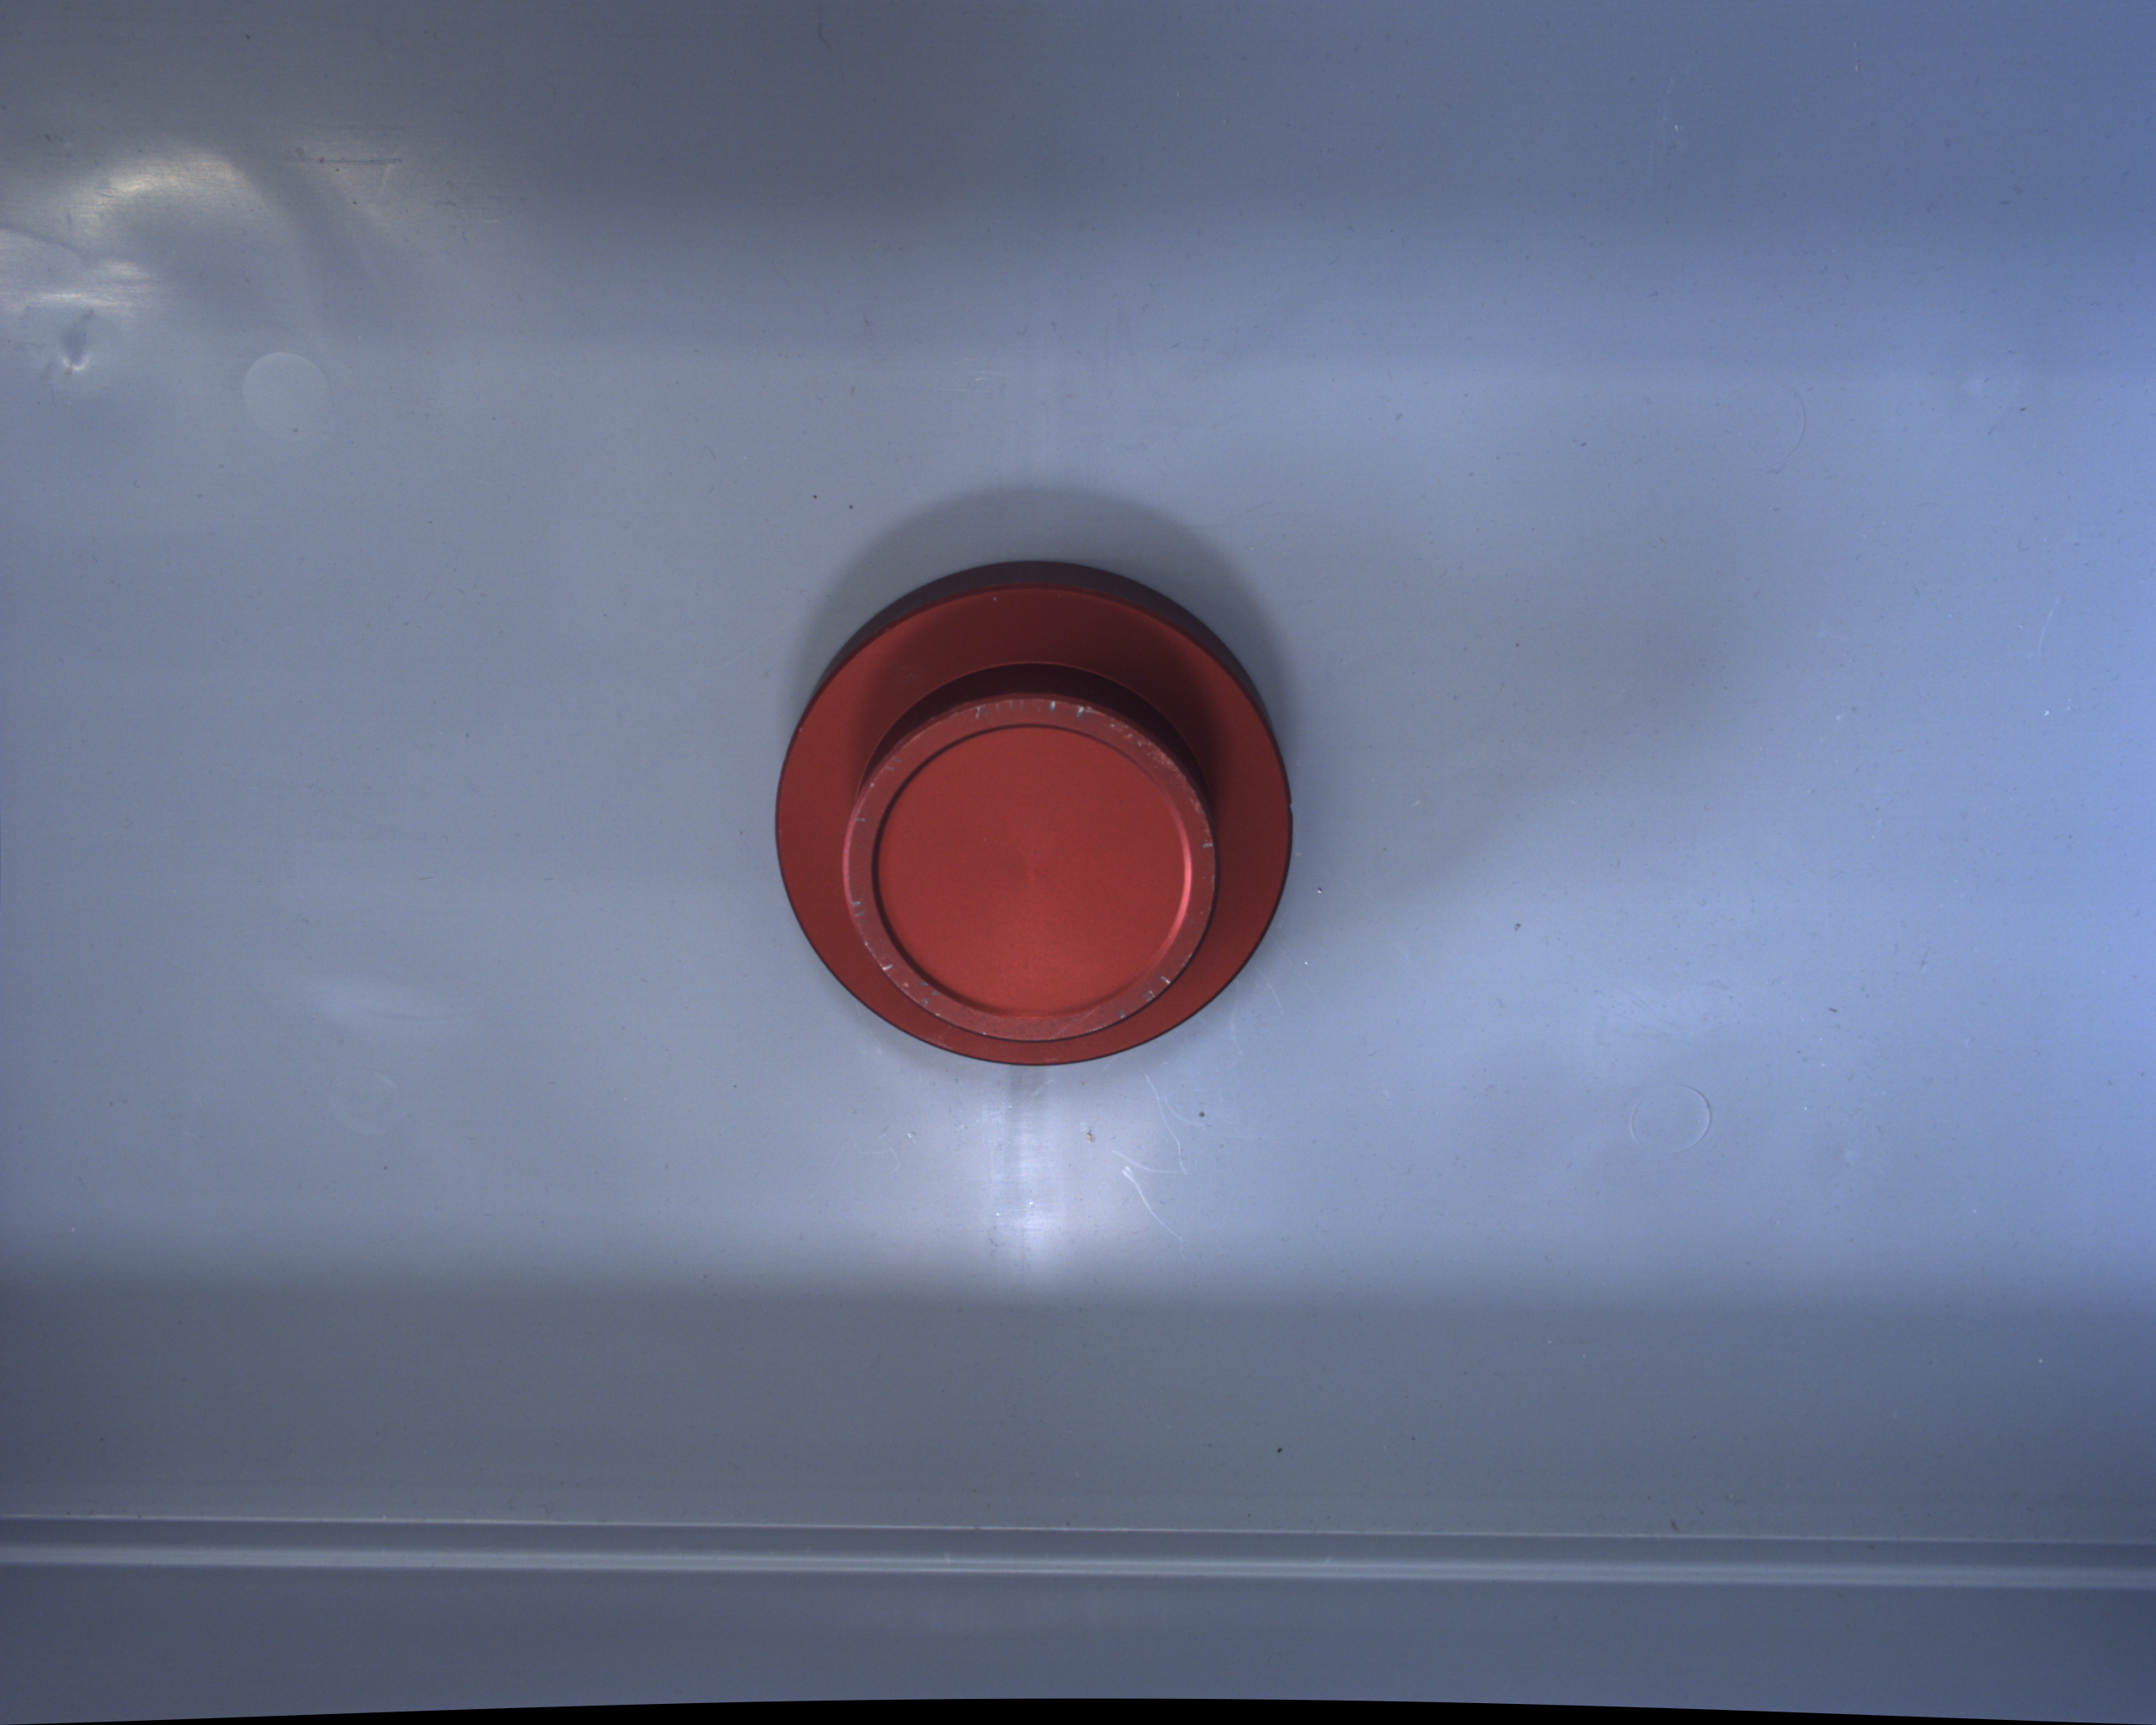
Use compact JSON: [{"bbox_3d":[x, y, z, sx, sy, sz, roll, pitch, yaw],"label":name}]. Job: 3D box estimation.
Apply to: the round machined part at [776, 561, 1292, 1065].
[{"bbox_3d":[-0.008,-0.005,0.397,0.099,0.042,0.097,0,110,0],"label":"round machined part"}]
